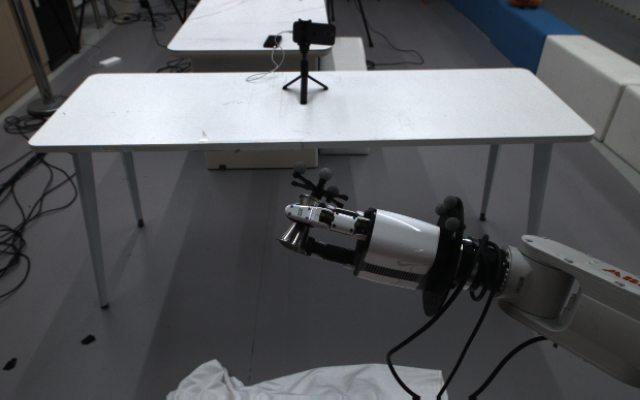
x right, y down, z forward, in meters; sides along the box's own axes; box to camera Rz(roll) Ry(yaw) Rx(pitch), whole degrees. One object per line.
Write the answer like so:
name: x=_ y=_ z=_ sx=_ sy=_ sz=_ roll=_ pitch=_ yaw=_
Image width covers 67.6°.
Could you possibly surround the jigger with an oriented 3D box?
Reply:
jigger: x=-0.023 y=0.029 z=0.627 sx=0.043 sy=0.043 sz=0.071 roll=19 pitch=72 yaw=23
